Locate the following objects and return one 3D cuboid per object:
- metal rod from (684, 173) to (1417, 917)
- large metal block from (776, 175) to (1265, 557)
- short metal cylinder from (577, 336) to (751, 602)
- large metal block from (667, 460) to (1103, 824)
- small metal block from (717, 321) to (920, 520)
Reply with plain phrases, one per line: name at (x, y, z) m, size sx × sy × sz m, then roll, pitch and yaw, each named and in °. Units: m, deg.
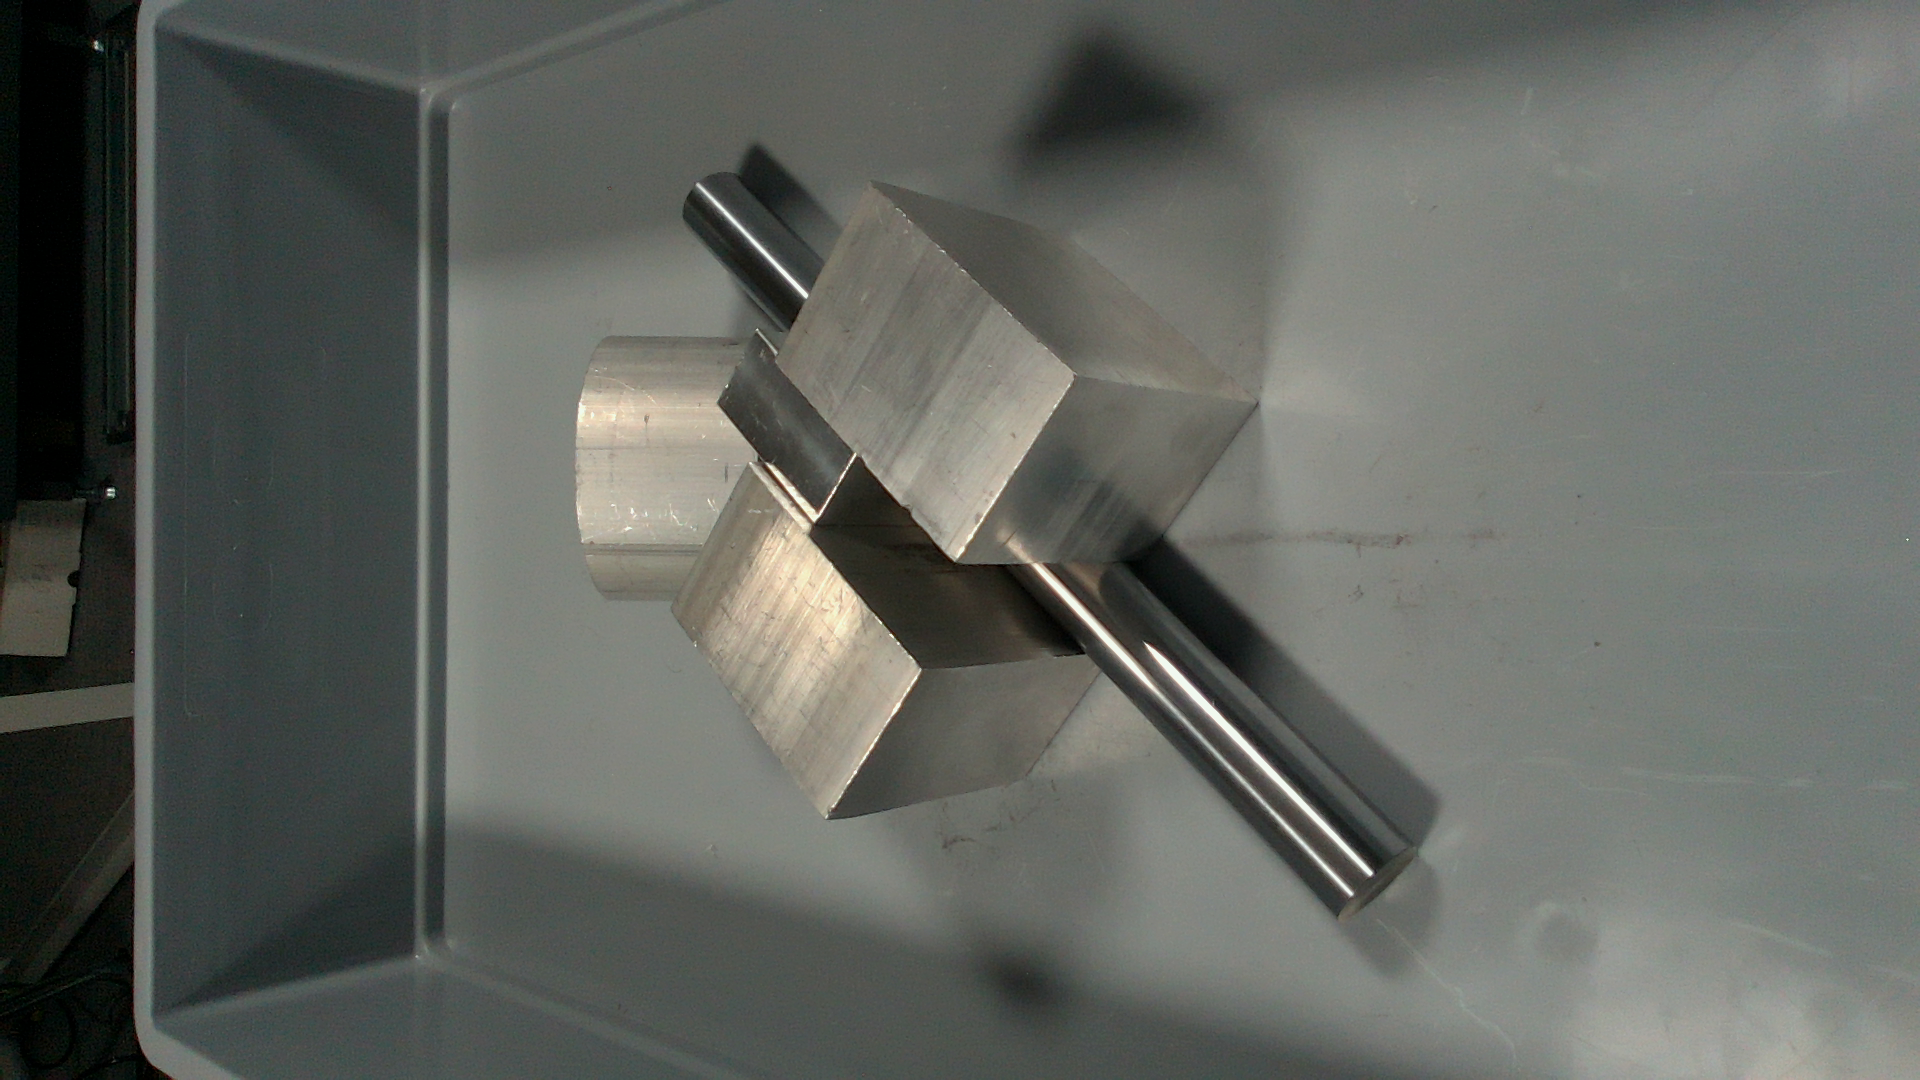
metal rod at (0.007, -0.017, 0.389) m, size 0.299 × 0.025 × 0.025 m, roll 47°, pitch 118°, yaw 30°
large metal block at (0.015, -0.041, 0.346) m, size 0.080 × 0.080 × 0.050 m, roll 48°, pitch 119°, yaw 29°
short metal cylinder at (-0.079, -0.021, 0.416) m, size 0.050 × 0.080 × 0.080 m, roll 0°, pitch 90°, yaw 1°
large metal block at (-0.018, 0.024, 0.373) m, size 0.080 × 0.080 × 0.050 m, roll 47°, pitch 118°, yaw 30°
small metal block at (-0.028, -0.031, 0.371) m, size 0.050 × 0.050 × 0.025 m, roll 48°, pitch 119°, yaw 29°
